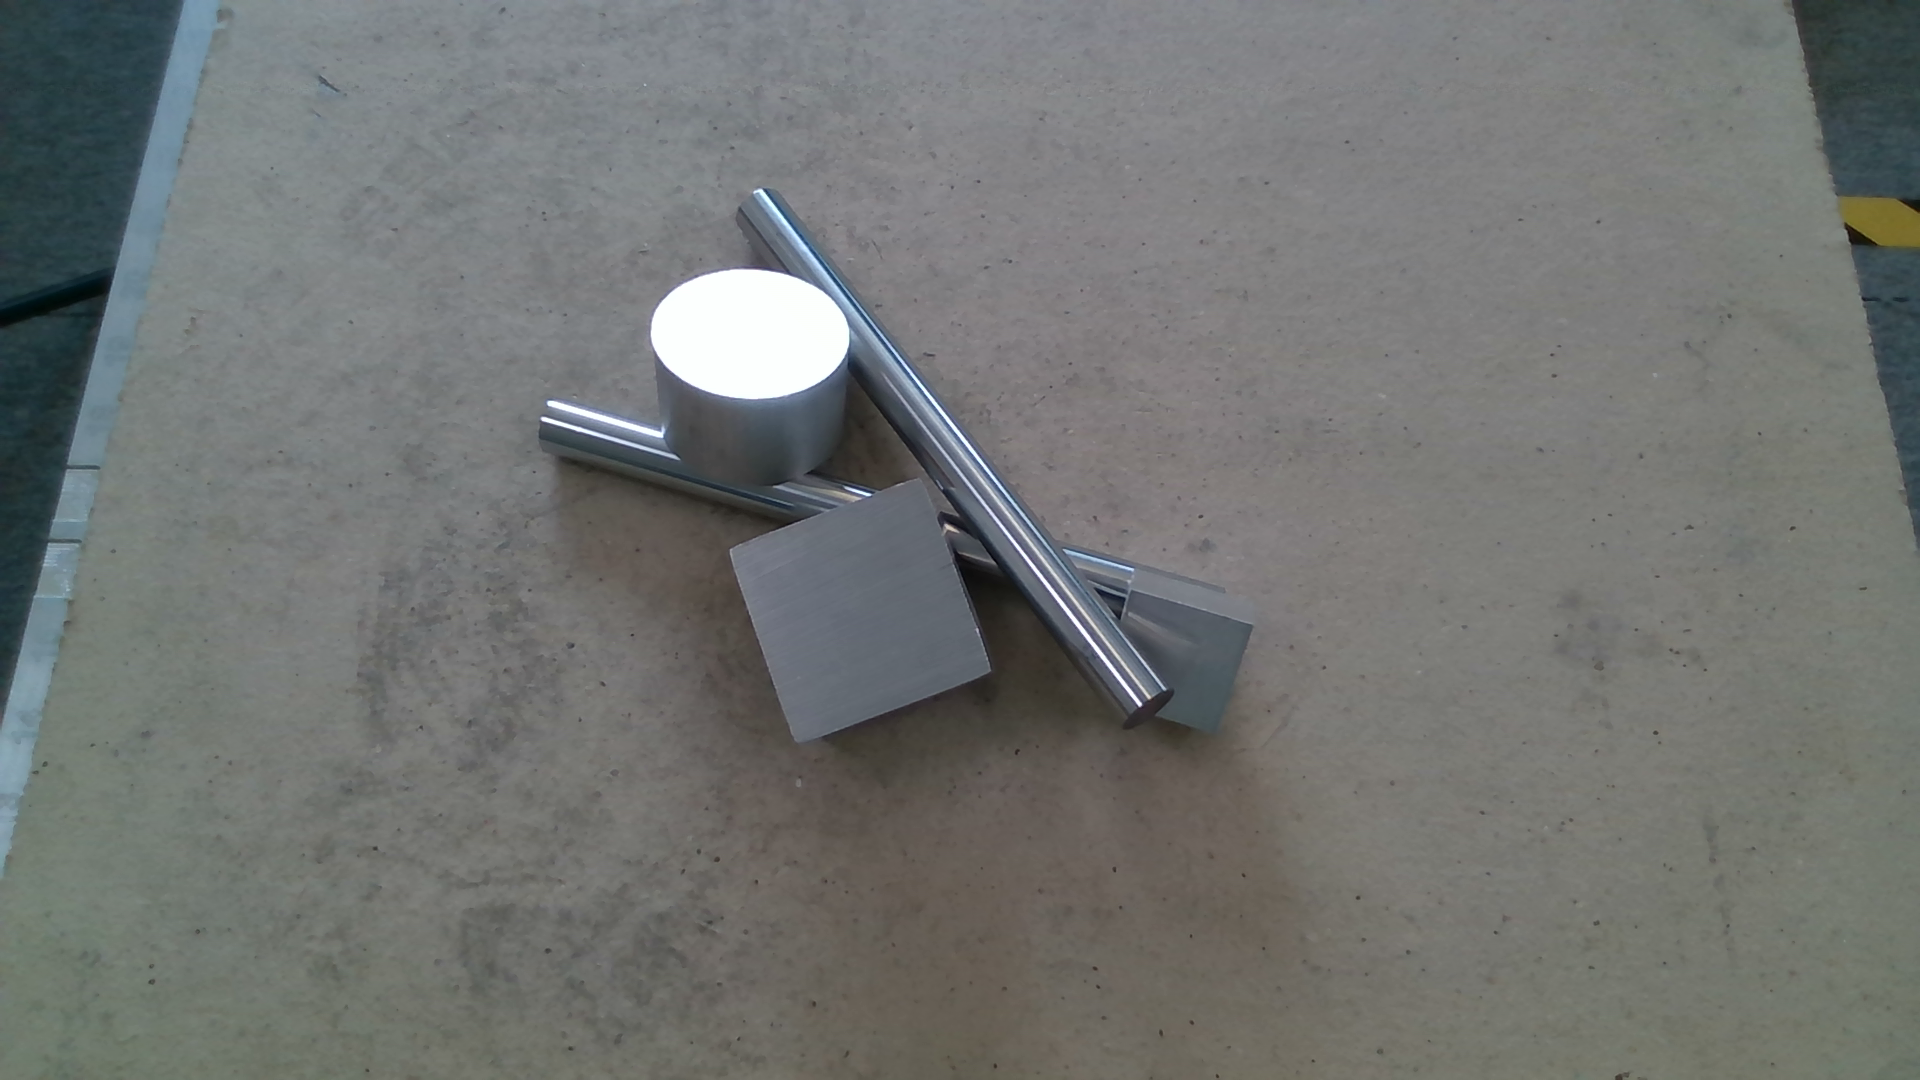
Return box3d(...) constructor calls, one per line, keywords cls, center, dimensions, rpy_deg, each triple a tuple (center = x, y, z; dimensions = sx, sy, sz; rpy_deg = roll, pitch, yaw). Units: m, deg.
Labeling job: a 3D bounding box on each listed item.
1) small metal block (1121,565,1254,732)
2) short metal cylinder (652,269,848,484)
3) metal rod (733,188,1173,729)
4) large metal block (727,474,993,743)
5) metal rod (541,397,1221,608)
box3d(cls="small metal block", center=(0.087, 0.044, 0.560), dimensions=(0.050, 0.025, 0.050), rpy_deg=(16, 111, 5))
box3d(cls="short metal cylinder", center=(-0.089, -0.070, 0.587), dimensions=(0.080, 0.050, 0.080), rpy_deg=(4, 50, -5))
box3d(cls="metal rod", center=(-0.011, -0.045, 0.586), dimensions=(0.025, 0.025, 0.299), rpy_deg=(-33, 67, -11))
box3d(cls="large metal block", center=(-0.037, 0.028, 0.550), dimensions=(0.080, 0.050, 0.080), rpy_deg=(-20, 84, 2))
box3d(cls="metal rod", center=(-0.035, -0.010, 0.592), dimensions=(0.300, 0.025, 0.025), rpy_deg=(16, 71, 6))
